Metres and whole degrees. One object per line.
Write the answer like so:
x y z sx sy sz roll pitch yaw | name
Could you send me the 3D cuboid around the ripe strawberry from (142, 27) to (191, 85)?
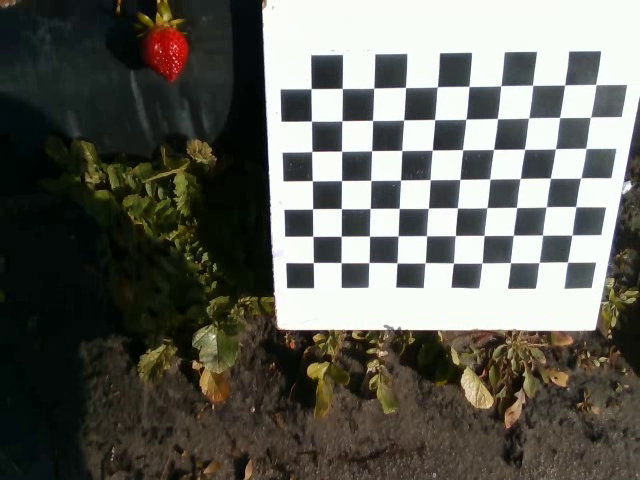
-0.111 -0.132 0.402 0.040 0.044 0.037 -18 6 8 | ripe strawberry
